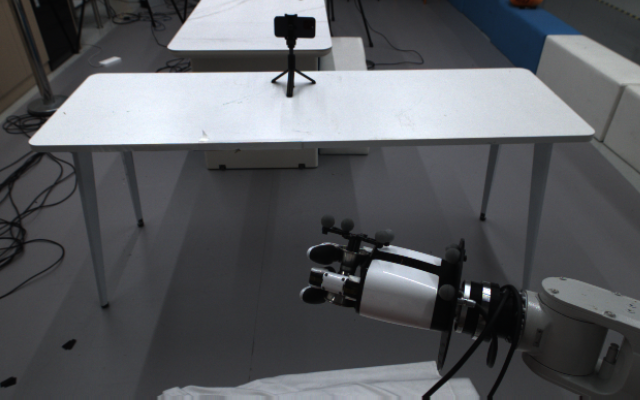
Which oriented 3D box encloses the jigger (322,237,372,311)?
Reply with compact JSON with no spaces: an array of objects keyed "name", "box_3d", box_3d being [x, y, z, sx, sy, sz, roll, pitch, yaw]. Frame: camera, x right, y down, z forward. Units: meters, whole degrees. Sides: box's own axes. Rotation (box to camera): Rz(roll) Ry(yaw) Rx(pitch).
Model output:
[{"name":"jigger","box_3d":[0.037,0.095,0.611,0.043,0.071,0.043,14,1,0]}]
